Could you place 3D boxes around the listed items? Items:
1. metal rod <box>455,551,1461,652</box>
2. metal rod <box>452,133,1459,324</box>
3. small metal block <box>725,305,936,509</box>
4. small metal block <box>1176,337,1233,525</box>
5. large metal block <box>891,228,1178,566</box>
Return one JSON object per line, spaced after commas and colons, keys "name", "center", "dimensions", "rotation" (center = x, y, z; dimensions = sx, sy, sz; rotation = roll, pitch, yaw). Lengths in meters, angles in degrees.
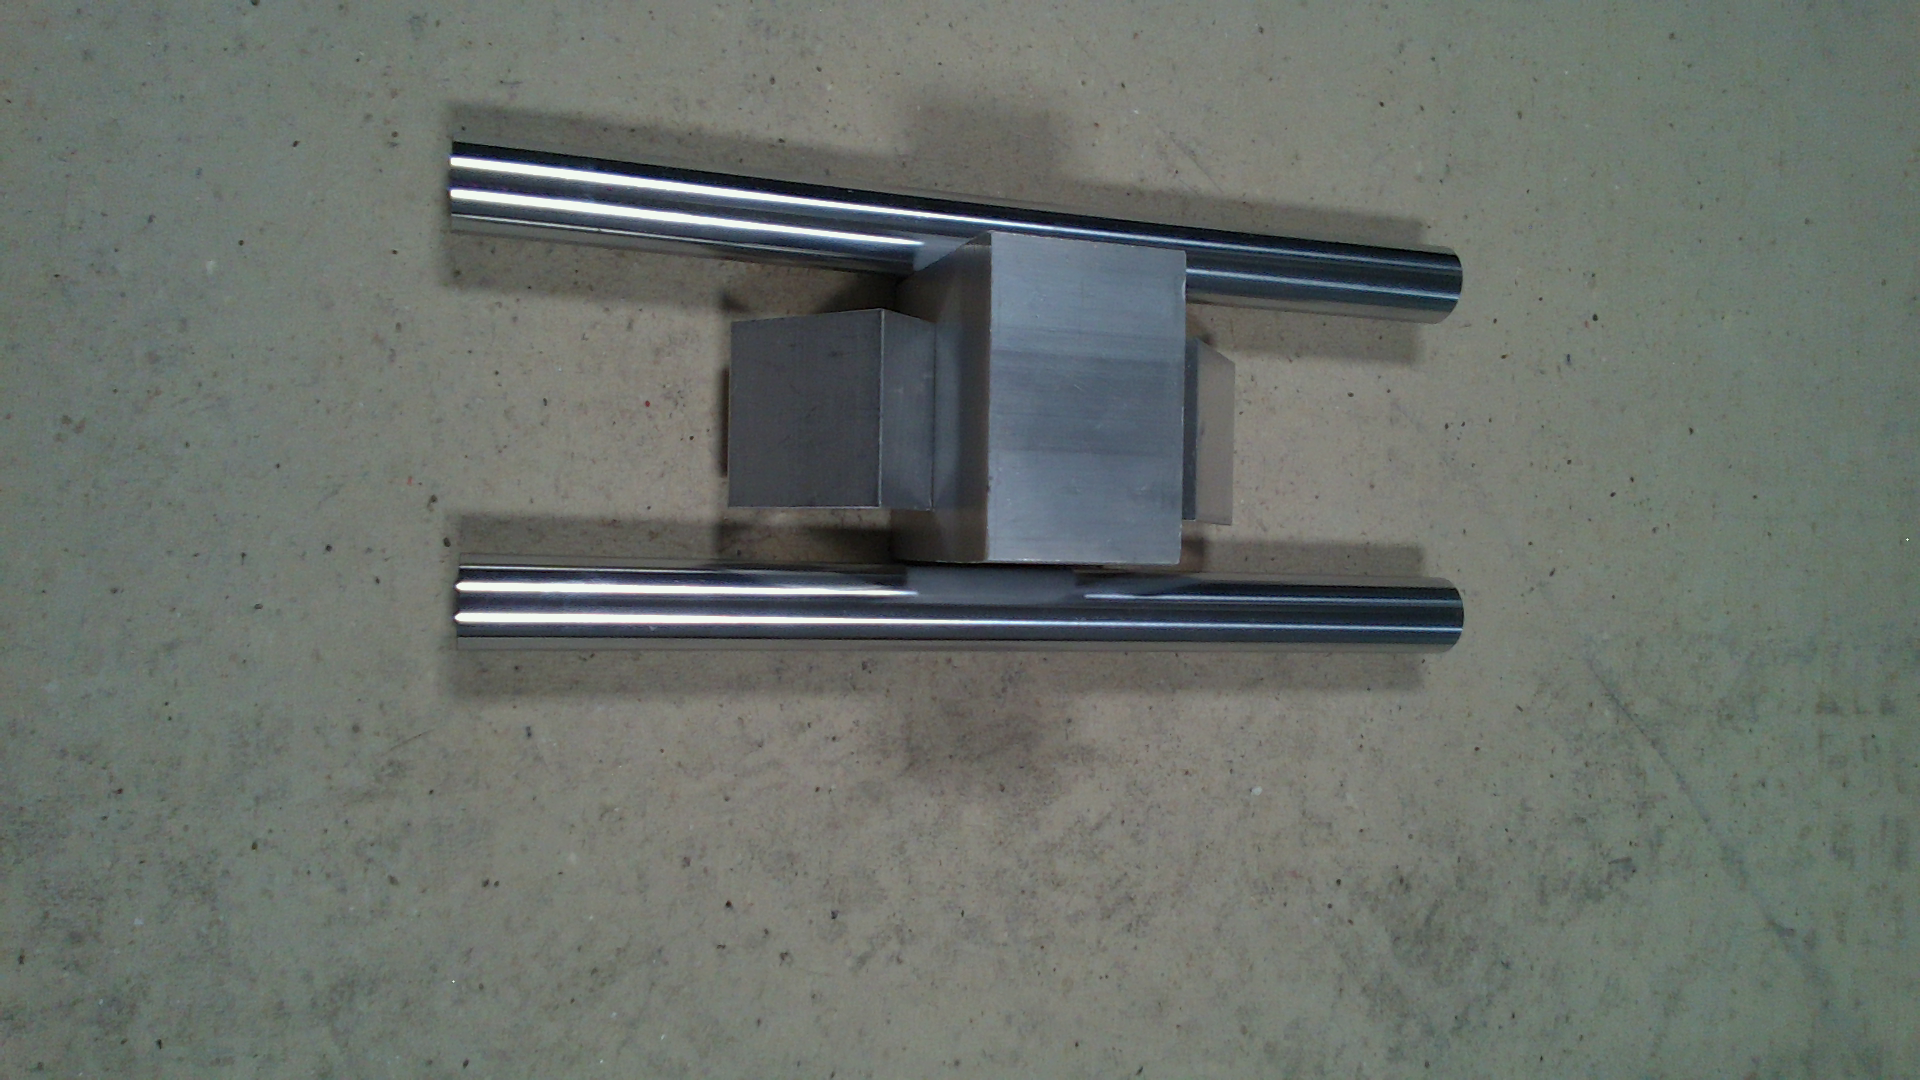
{"name": "metal rod", "center": [0.014, 0.020, 0.399], "dimensions": [0.301, 0.025, 0.025], "rotation": [2, 89, -20]}
{"name": "metal rod", "center": [0.014, -0.086, 0.398], "dimensions": [0.301, 0.025, 0.025], "rotation": [1, 90, -20]}
{"name": "small metal block", "center": [-0.035, -0.034, 0.366], "dimensions": [0.025, 0.050, 0.050], "rotation": [1, 90, -59]}
{"name": "small metal block", "center": [0.062, -0.030, 0.402], "dimensions": [0.025, 0.050, 0.050], "rotation": [0, 89, 22]}
{"name": "large metal block", "center": [0.017, -0.034, 0.373], "dimensions": [0.050, 0.080, 0.080], "rotation": [1, 90, -20]}
